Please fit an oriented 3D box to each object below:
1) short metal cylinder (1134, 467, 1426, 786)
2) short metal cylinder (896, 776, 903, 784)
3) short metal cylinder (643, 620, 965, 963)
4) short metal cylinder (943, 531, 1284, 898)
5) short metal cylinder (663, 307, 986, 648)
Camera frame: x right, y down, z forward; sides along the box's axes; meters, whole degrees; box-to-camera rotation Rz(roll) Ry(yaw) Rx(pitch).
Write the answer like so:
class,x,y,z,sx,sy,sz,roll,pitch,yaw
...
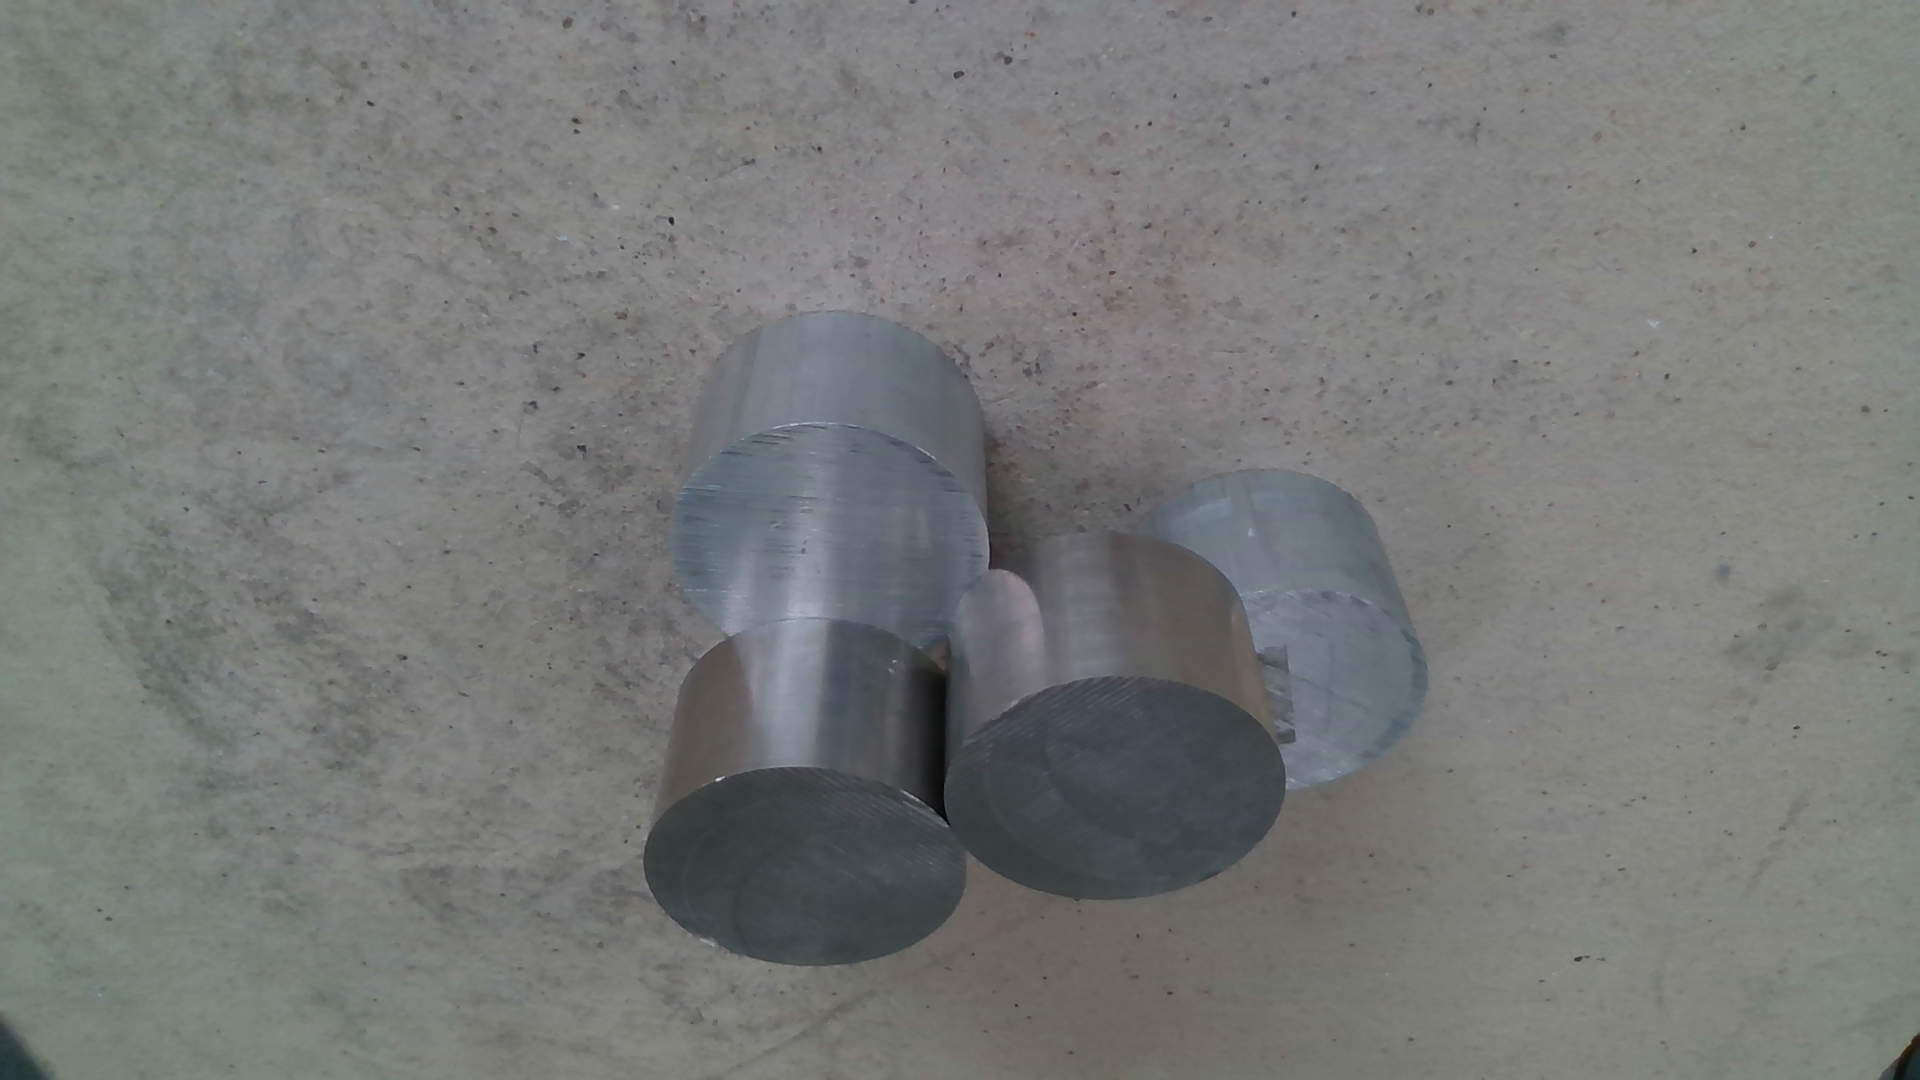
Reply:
class,x,y,z,sx,sy,sz,roll,pitch,yaw
short metal cylinder,0.086,0.026,0.395,0.080,0.050,0.080,0,130,0
short metal cylinder,-0.045,0.075,0.436,0.080,0.050,0.080,0,130,0
short metal cylinder,-0.039,0.067,0.363,0.080,0.050,0.080,0,131,0
short metal cylinder,0.036,0.044,0.344,0.080,0.050,0.080,0,130,0
short metal cylinder,-0.033,-0.013,0.361,0.080,0.050,0.080,0,130,0
